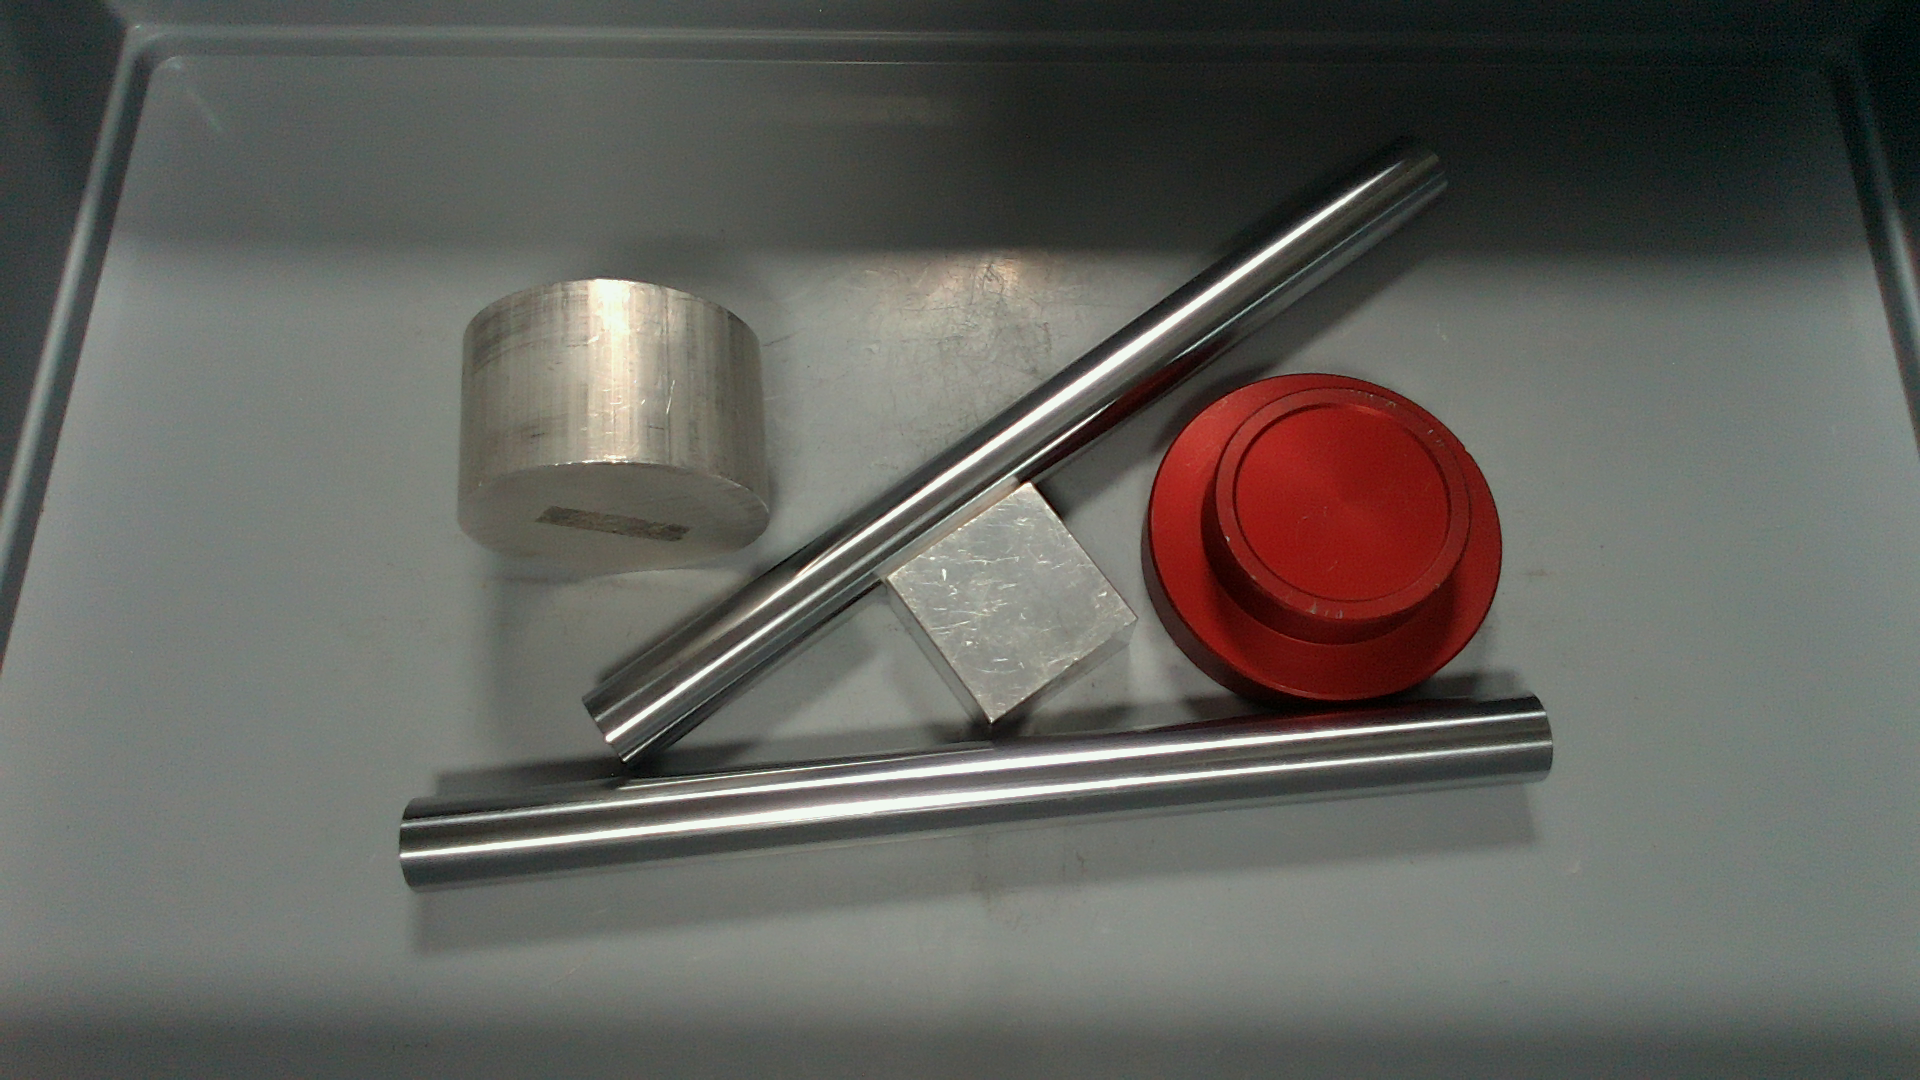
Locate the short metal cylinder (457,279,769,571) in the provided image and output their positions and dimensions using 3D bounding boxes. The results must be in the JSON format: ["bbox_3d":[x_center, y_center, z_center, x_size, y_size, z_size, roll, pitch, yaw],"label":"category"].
[{"bbox_3d":[-0.094,-0.028,0.375,0.080,0.080,0.050,-5,70,-2],"label":"short metal cylinder"}]

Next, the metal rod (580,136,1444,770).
[{"bbox_3d":[0.024,-0.032,0.405,0.300,0.025,0.025,-35,74,-12],"label":"metal rod"}]

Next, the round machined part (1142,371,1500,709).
[{"bbox_3d":[0.102,-0.004,0.384,0.098,0.042,0.098,0,70,0],"label":"round machined part"}]

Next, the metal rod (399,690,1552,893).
[{"bbox_3d":[0.006,0.067,0.369,0.300,0.025,0.025,-5,70,-2],"label":"metal rod"}]

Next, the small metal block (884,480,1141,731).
[{"bbox_3d":[0.014,0.020,0.385,0.050,0.025,0.050,-34,74,-12],"label":"small metal block"}]
